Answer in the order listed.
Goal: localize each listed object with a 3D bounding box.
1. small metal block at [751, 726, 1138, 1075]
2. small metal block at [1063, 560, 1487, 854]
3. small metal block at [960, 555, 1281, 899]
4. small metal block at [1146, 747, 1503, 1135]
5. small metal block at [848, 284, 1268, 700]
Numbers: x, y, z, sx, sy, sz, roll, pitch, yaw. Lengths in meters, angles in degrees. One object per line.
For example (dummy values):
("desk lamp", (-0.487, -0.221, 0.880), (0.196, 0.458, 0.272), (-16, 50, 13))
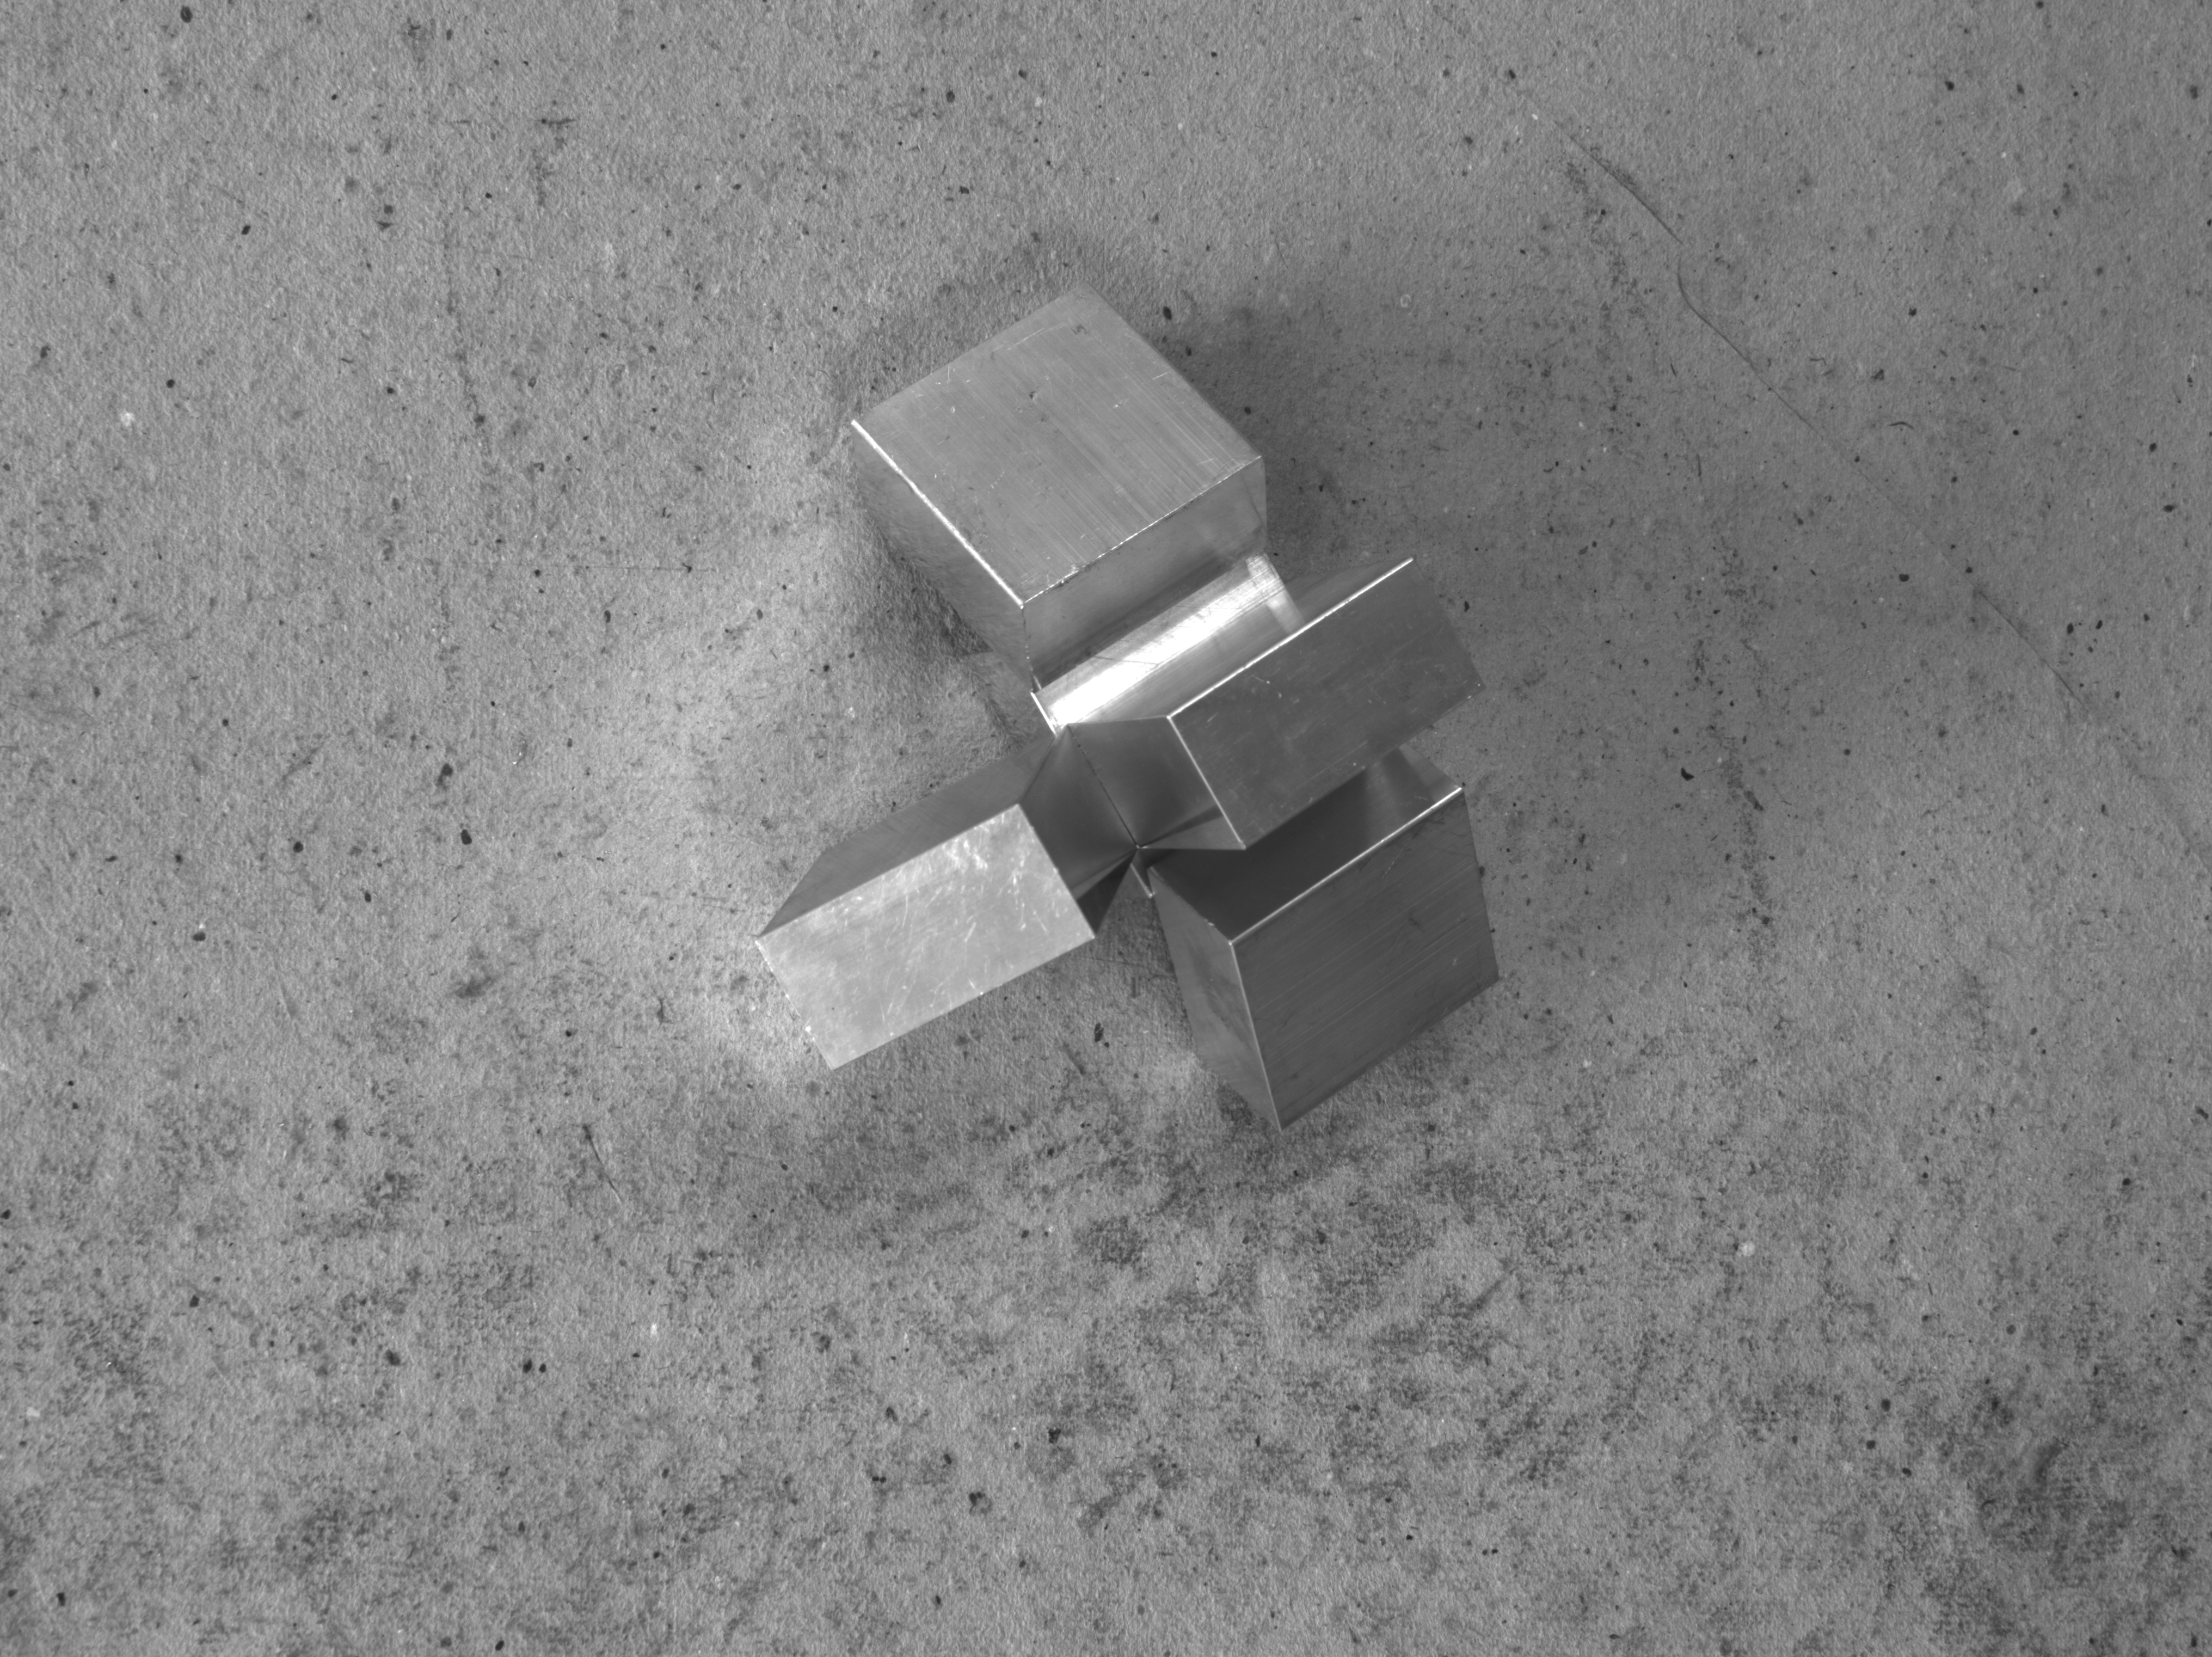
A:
("small metal block", (-0.026, 0.011, 0.611), (0.050, 0.050, 0.025), (-27, 101, 15))
("small metal block", (0.027, -0.020, 0.614), (0.050, 0.050, 0.025), (-33, 101, -16))
("small metal block", (0.011, -0.022, 0.648), (0.050, 0.025, 0.050), (-33, 100, -14))
("small metal block", (0.039, 0.017, 0.645), (0.050, 0.025, 0.050), (-33, 137, -16))
("small metal block", (-0.008, -0.058, 0.628), (0.050, 0.025, 0.050), (-33, 61, -16))
